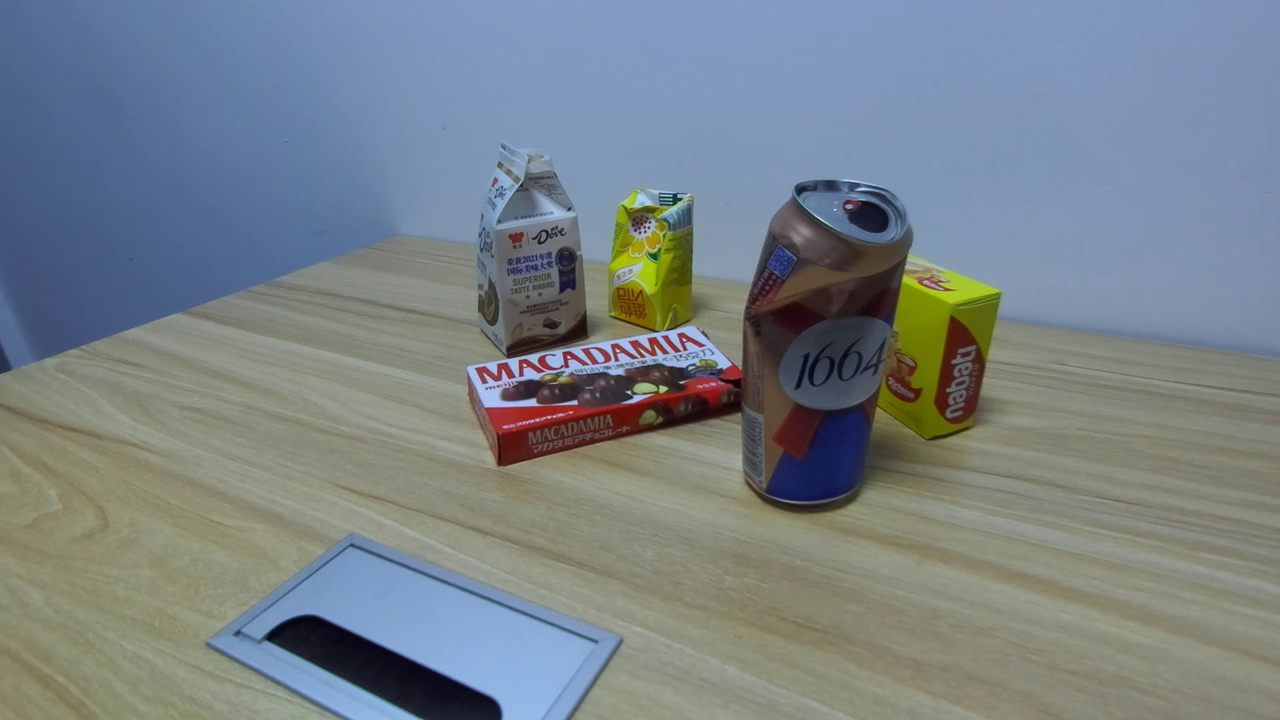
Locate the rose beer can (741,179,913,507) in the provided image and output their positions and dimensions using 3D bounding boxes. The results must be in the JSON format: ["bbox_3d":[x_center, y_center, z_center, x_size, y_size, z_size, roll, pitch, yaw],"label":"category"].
[{"bbox_3d":[0.092,-0.004,0.364,0.069,0.168,0.069,11,31,17],"label":"rose beer can"}]

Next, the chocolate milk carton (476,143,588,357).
[{"bbox_3d":[-0.092,-0.092,0.564,0.073,0.155,0.084,-15,30,-24],"label":"chocolate milk carton"}]

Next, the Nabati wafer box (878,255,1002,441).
[{"bbox_3d":[0.156,-0.033,0.506,0.042,0.093,0.202,-12,28,-21],"label":"Nabati wafer box"}]

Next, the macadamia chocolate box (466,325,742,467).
[{"bbox_3d":[-0.016,0.019,0.484,0.187,0.027,0.102,-12,31,-20],"label":"macadamia chocolate box"}]

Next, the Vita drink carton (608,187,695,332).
[{"bbox_3d":[0.007,-0.085,0.597,0.071,0.110,0.047,18,29,38],"label":"Vita drink carton"}]
